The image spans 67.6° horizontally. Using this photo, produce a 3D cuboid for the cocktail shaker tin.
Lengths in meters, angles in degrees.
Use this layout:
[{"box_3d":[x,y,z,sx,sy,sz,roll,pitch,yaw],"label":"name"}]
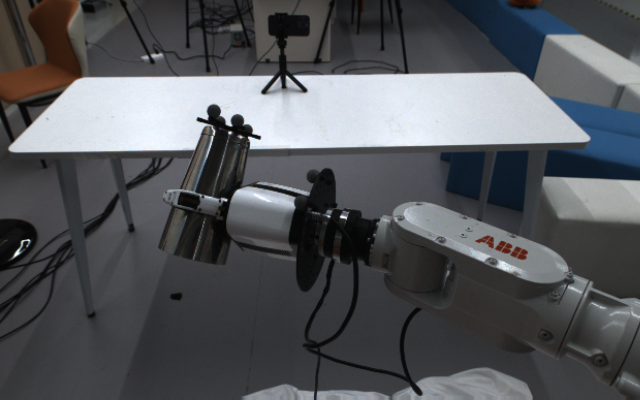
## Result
[{"box_3d":[-0.148,-0.007,0.650,0.093,0.170,0.093,15,-4,1],"label":"cocktail shaker tin"}]
